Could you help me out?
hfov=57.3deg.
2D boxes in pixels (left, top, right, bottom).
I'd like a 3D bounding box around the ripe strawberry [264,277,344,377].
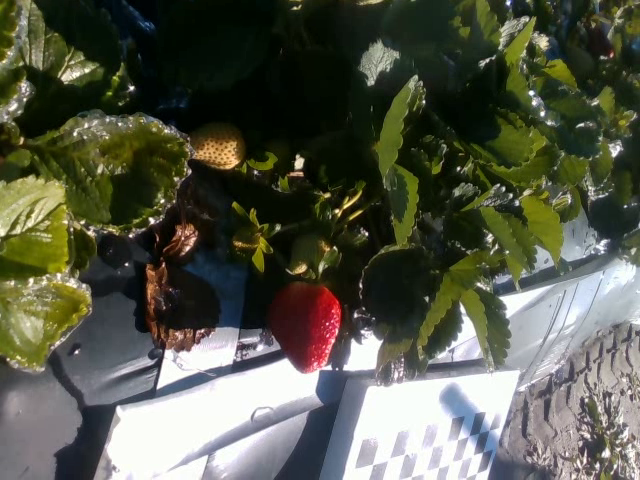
[{"bbox_3d":[-0.006,0.067,0.398,0.057,0.065,0.062,-19,-44,12],"label":"ripe strawberry"}]
